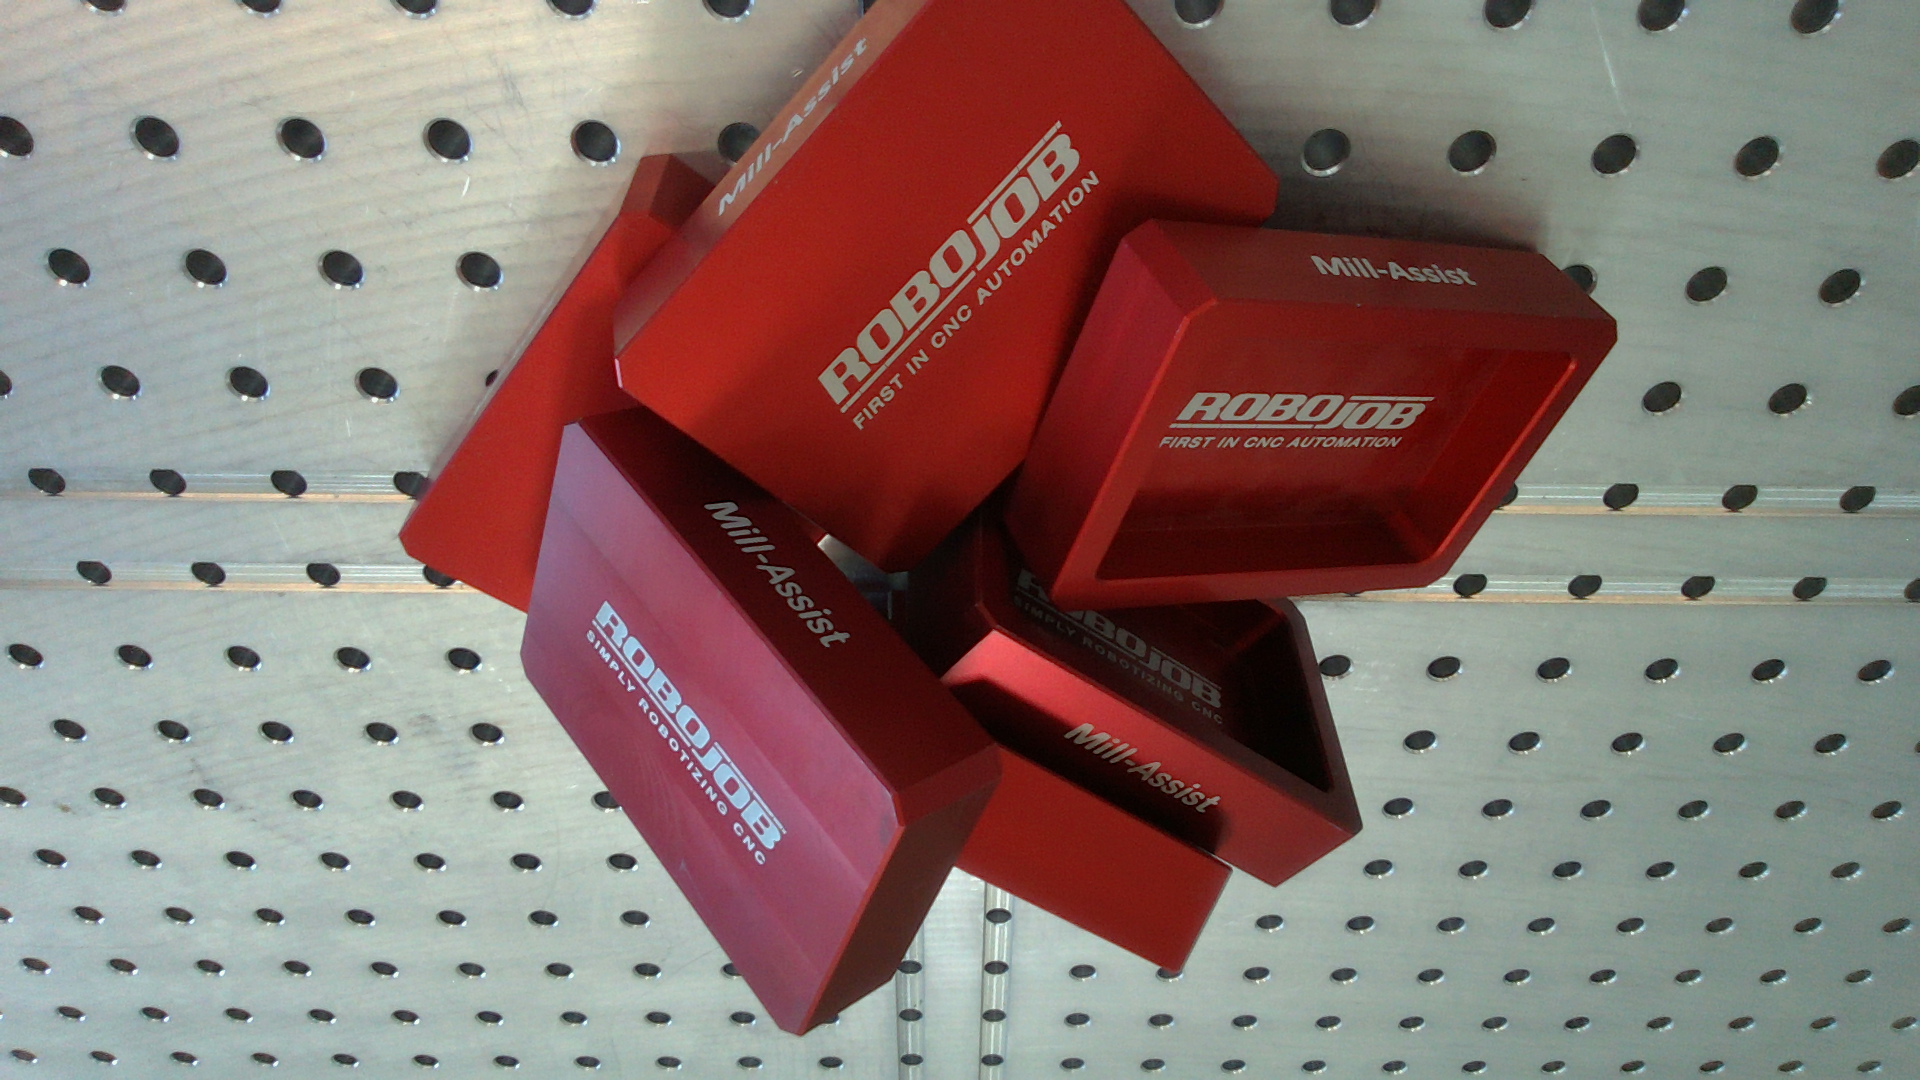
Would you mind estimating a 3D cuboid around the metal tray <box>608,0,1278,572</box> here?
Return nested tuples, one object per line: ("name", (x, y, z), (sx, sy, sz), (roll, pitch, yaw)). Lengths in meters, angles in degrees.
("metal tray", (-0.005, -0.064, 0.312), (0.130, 0.030, 0.090), (-44, 122, 14))

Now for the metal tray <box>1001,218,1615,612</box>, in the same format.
("metal tray", (0.085, -0.027, 0.336), (0.130, 0.030, 0.090), (-2, 134, -29))

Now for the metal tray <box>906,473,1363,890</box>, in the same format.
("metal tray", (0.046, 0.029, 0.374), (0.130, 0.090, 0.030), (31, 123, -24))

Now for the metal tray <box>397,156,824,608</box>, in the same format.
("metal tray", (-0.079, -0.025, 0.368), (0.090, 0.030, 0.130), (31, 124, -25))

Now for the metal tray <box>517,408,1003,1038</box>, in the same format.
("metal tray", (-0.055, 0.040, 0.328), (0.030, 0.130, 0.090), (-19, 145, -42))

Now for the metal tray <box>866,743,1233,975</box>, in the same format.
("metal tray", (0.005, 0.069, 0.389), (0.090, 0.130, 0.030), (31, 85, -24))
